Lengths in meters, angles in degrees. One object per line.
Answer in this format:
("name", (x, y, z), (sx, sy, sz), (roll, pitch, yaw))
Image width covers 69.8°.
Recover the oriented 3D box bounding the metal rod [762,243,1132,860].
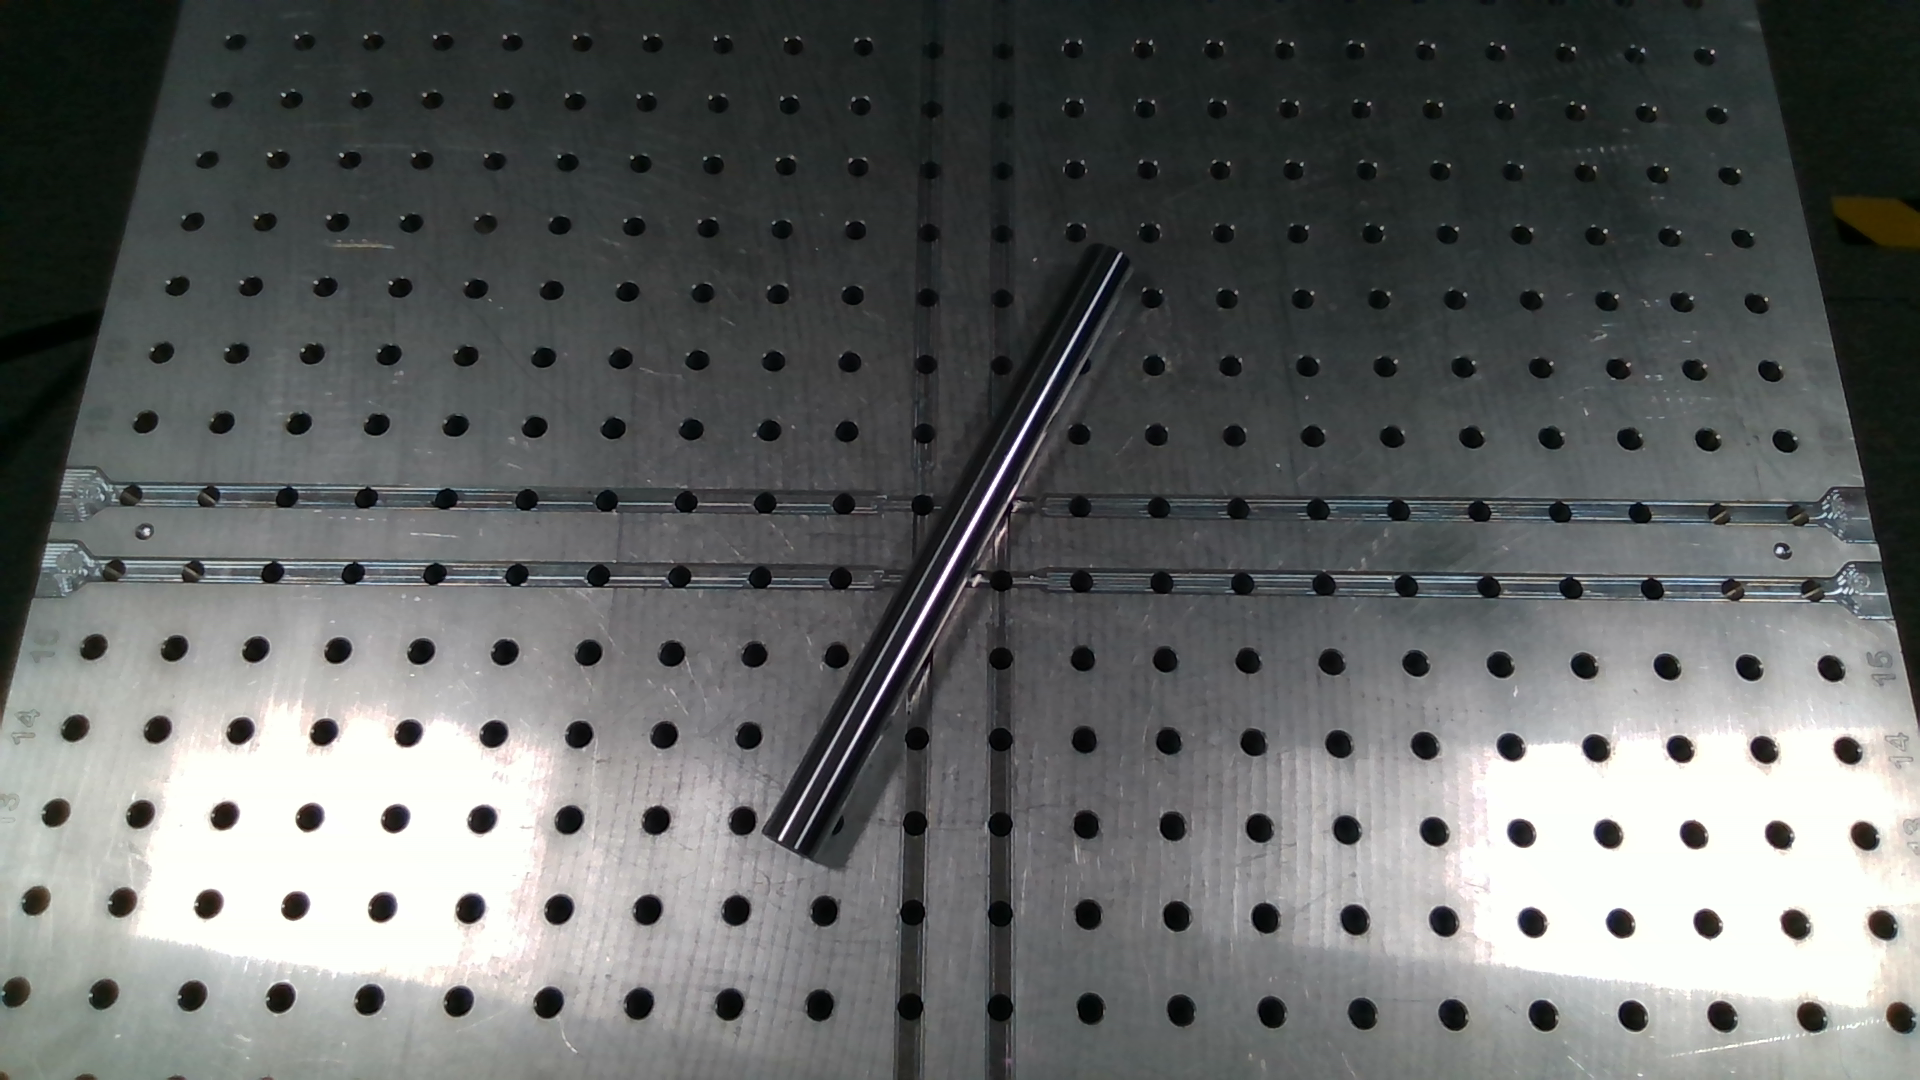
("metal rod", (0.000, -0.004, 0.592), (0.025, 0.025, 0.299), (26, 72, 9))
